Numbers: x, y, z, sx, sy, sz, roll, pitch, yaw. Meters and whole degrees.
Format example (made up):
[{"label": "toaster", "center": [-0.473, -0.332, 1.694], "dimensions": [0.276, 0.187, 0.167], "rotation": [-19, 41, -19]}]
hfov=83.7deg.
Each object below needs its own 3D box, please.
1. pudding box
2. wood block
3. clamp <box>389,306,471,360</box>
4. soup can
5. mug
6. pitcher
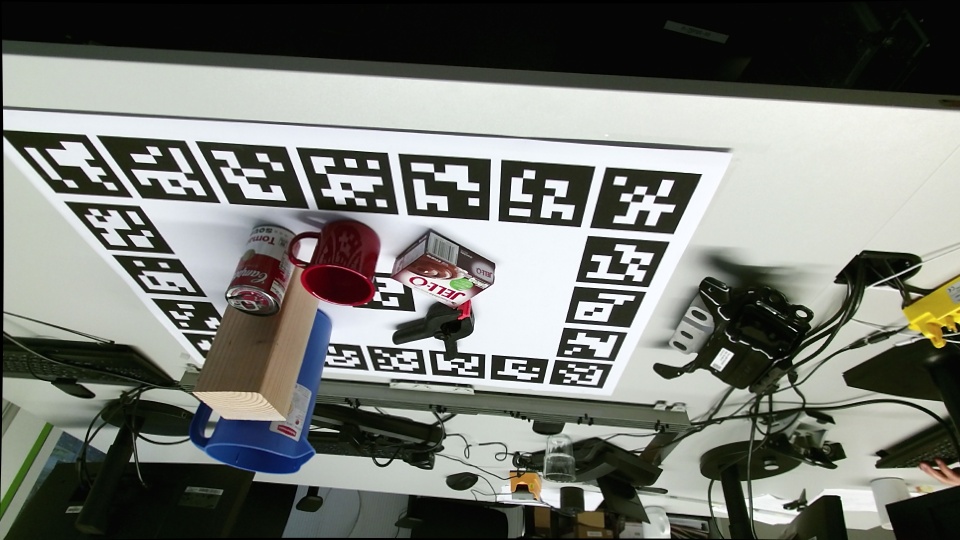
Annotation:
[{"label": "pudding box", "center": [-0.042, 0.008, 0.734], "dimensions": [0.114, 0.038, 0.090], "rotation": [27, 134, -28]}, {"label": "wood block", "center": [-0.301, 0.101, 0.737], "dimensions": [0.090, 0.205, 0.091], "rotation": [4, 143, 7]}, {"label": "clamp", "center": [-0.064, 0.101, 0.865], "dimensions": [0.122, 0.036, 0.165], "rotation": [27, 137, -16]}, {"label": "soup can", "center": [-0.279, 0.006, 0.697], "dimensions": [0.068, 0.101, 0.068], "rotation": [3, 140, 2]}, {"label": "mug", "center": [-0.185, -0.010, 0.686], "dimensions": [0.117, 0.081, 0.093], "rotation": [26, 140, -27]}, {"label": "pitcher", "center": [-0.327, 0.186, 0.825], "dimensions": [0.189, 0.241, 0.133], "rotation": [1, 144, 1]}]
